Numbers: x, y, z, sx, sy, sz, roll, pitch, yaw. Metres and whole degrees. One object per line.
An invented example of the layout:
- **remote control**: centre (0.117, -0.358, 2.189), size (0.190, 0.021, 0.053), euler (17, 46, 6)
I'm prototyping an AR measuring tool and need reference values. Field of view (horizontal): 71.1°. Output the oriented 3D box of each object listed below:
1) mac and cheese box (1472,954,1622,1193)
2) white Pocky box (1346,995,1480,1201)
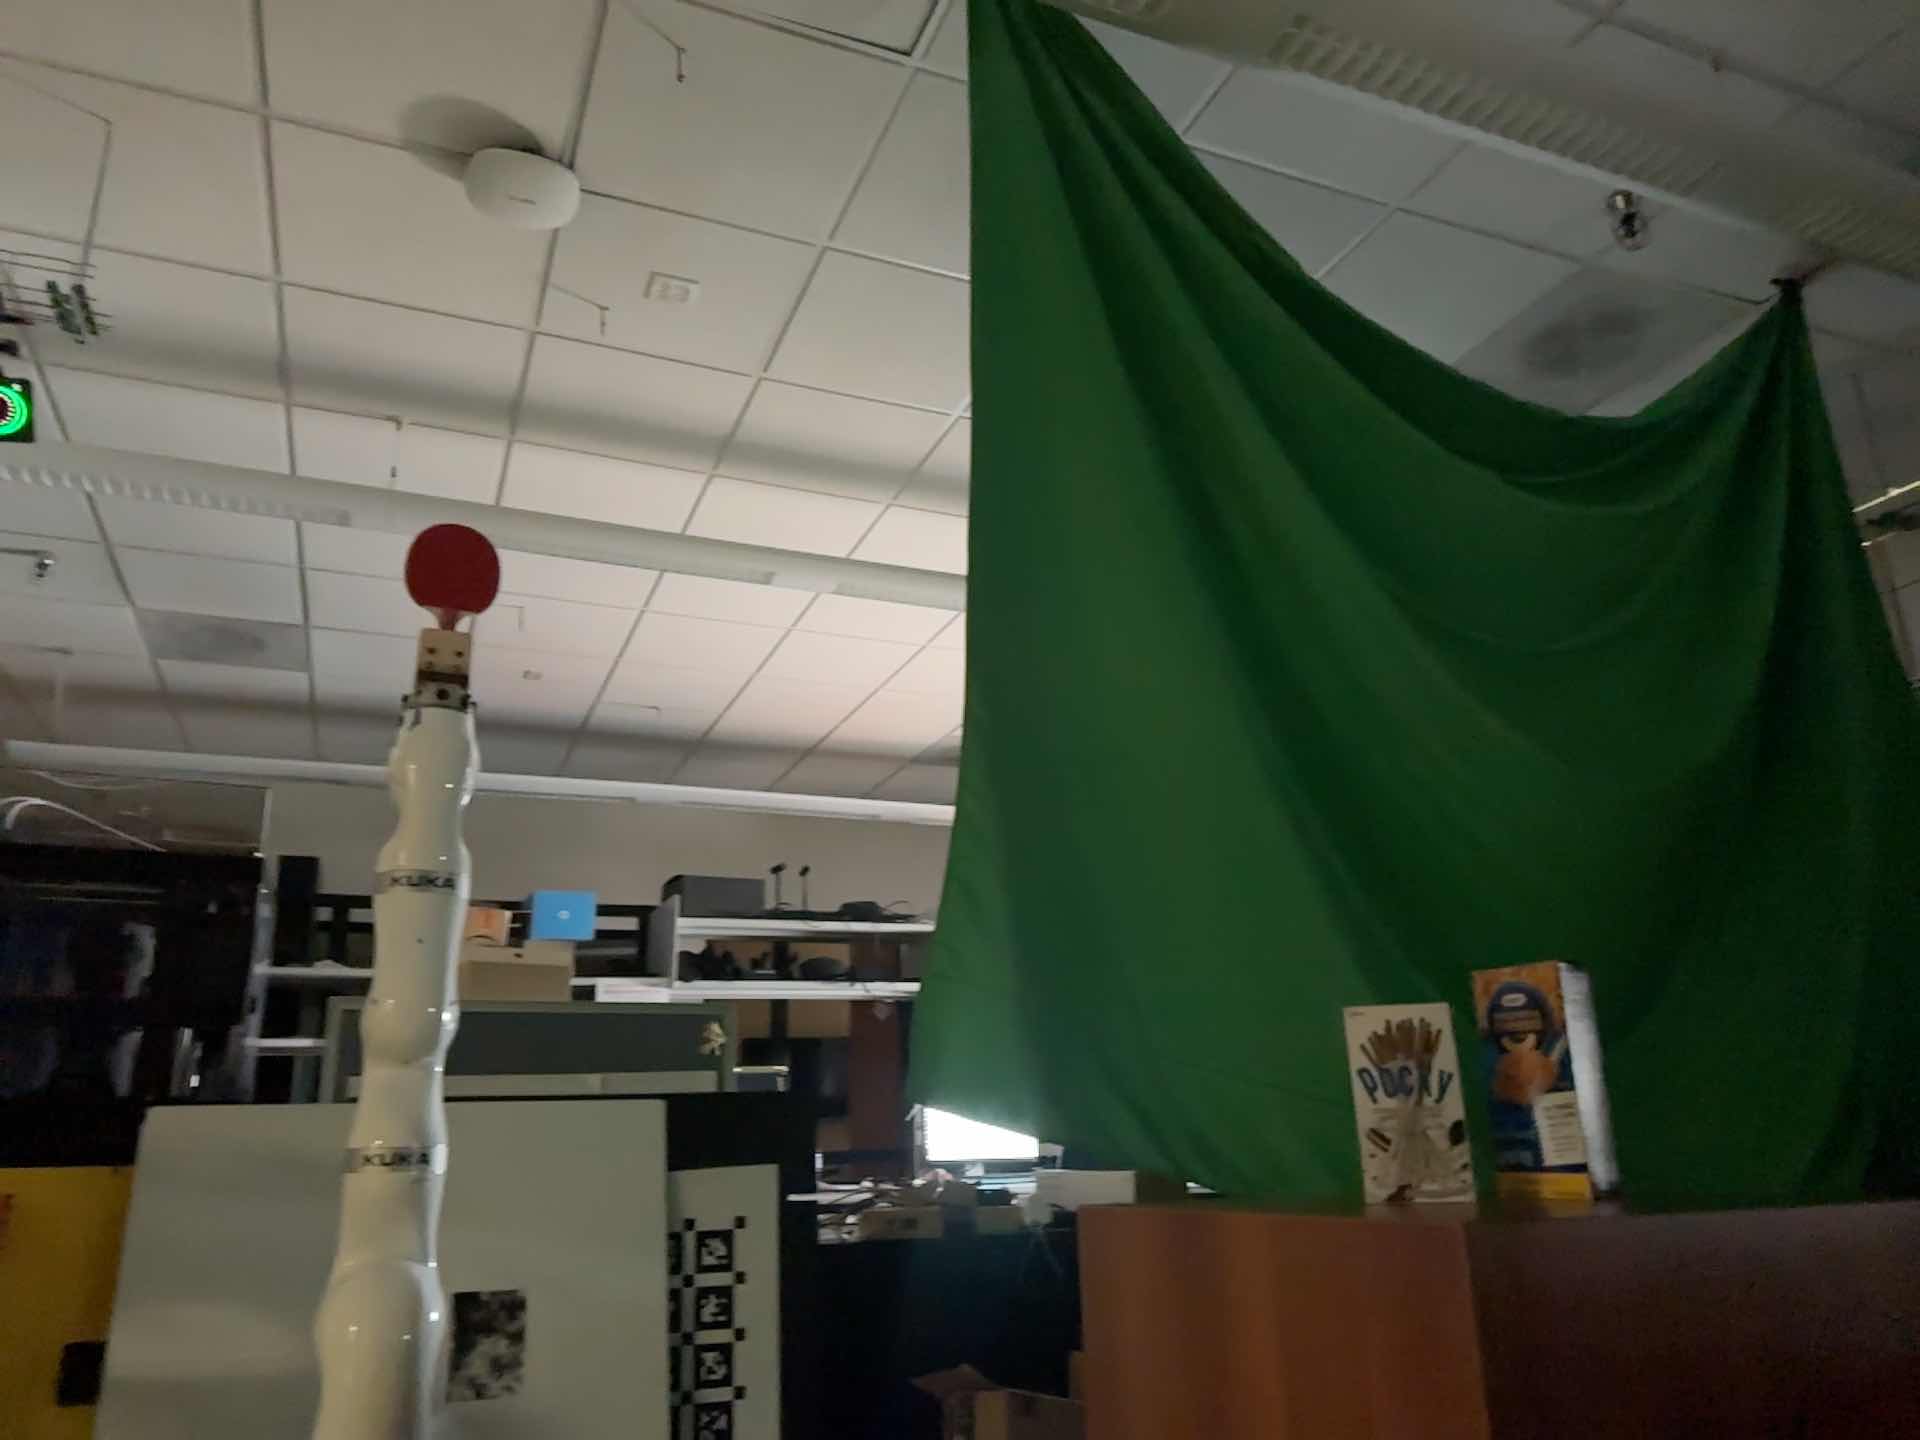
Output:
- **mac and cheese box**: centre (0.478, 0.289, 1.101), size (0.035, 0.181, 0.088), euler (8, -19, -28)
- **white Pocky box**: centre (0.357, 0.298, 1.063), size (0.084, 0.154, 0.028), euler (-7, -16, 16)
